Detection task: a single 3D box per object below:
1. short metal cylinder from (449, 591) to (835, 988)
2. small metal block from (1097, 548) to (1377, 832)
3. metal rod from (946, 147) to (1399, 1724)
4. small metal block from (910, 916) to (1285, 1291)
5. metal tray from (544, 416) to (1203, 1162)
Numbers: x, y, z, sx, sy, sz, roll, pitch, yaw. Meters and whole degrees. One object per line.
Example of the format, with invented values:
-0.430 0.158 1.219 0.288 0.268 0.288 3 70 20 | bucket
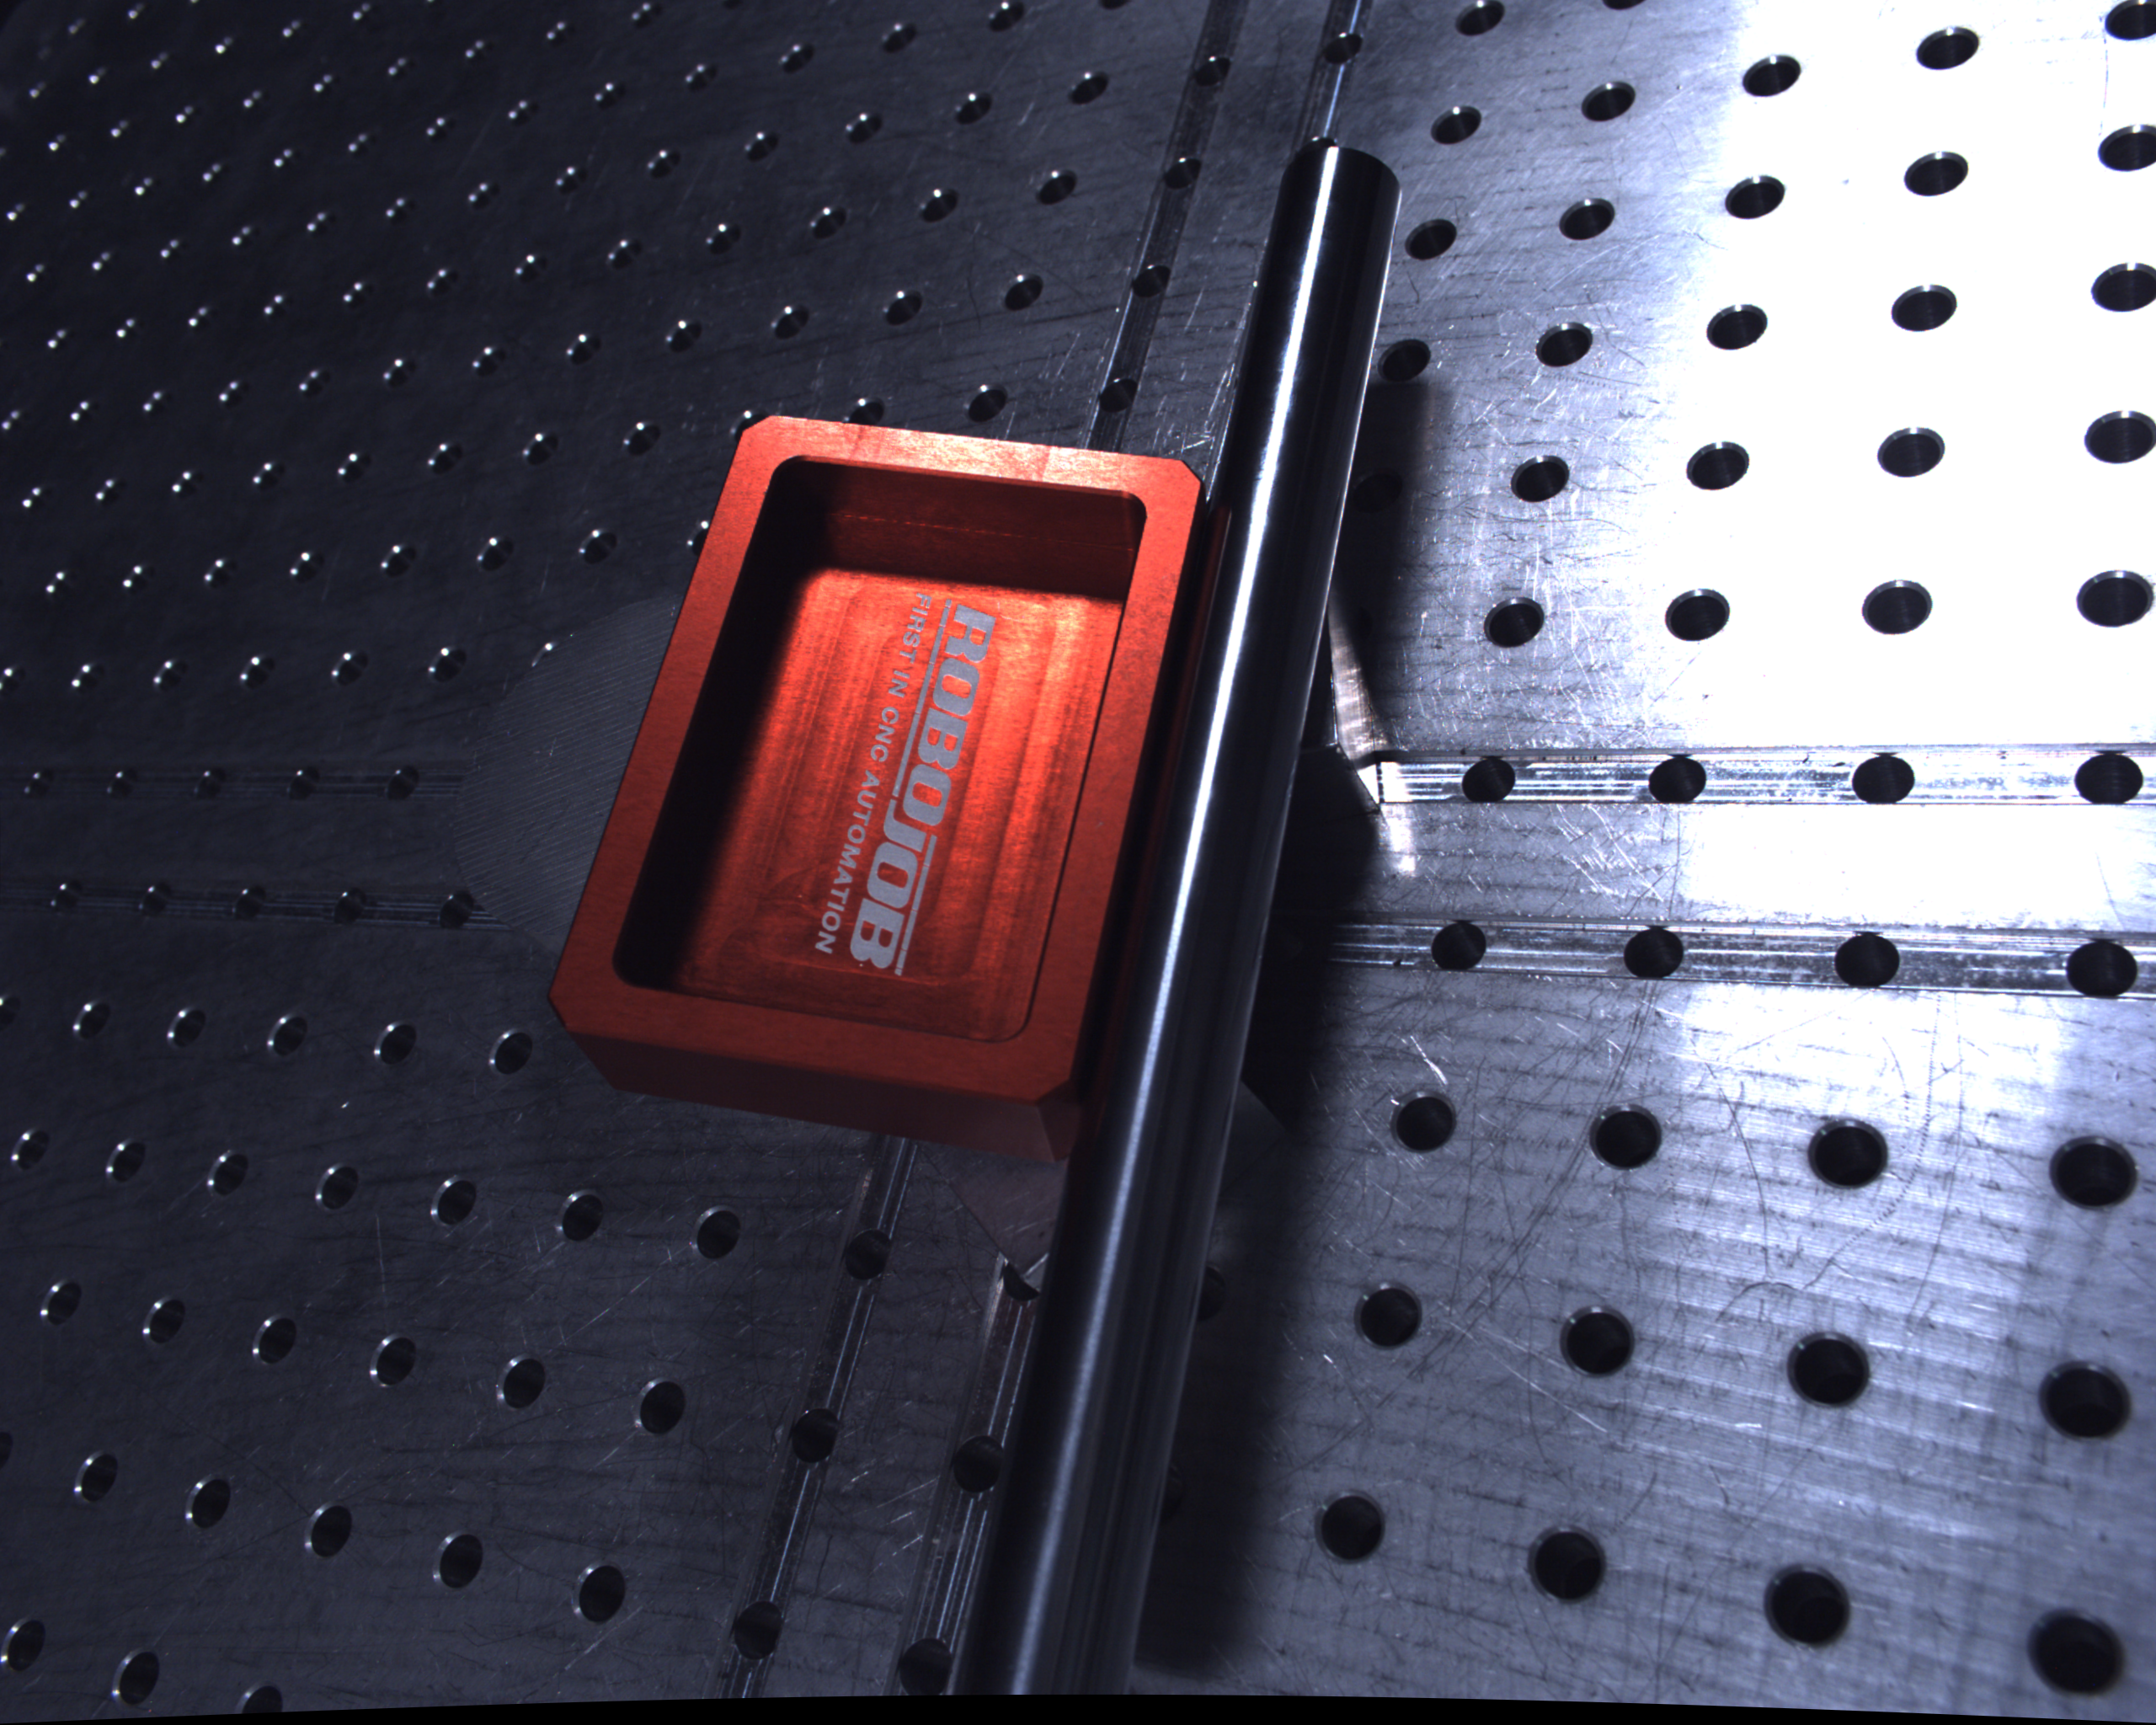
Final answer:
-0.083 -0.010 0.439 0.080 0.050 0.080 -13 56 20 | short metal cylinder
0.029 -0.031 0.411 0.050 0.025 0.050 -14 56 20 | small metal block
0.024 -0.007 0.366 0.025 0.025 0.300 -1 61 27 | metal rod
0.000 0.046 0.378 0.050 0.025 0.050 -43 51 -2 | small metal block
-0.032 -0.017 0.380 0.090 0.030 0.130 8 64 10 | metal tray
